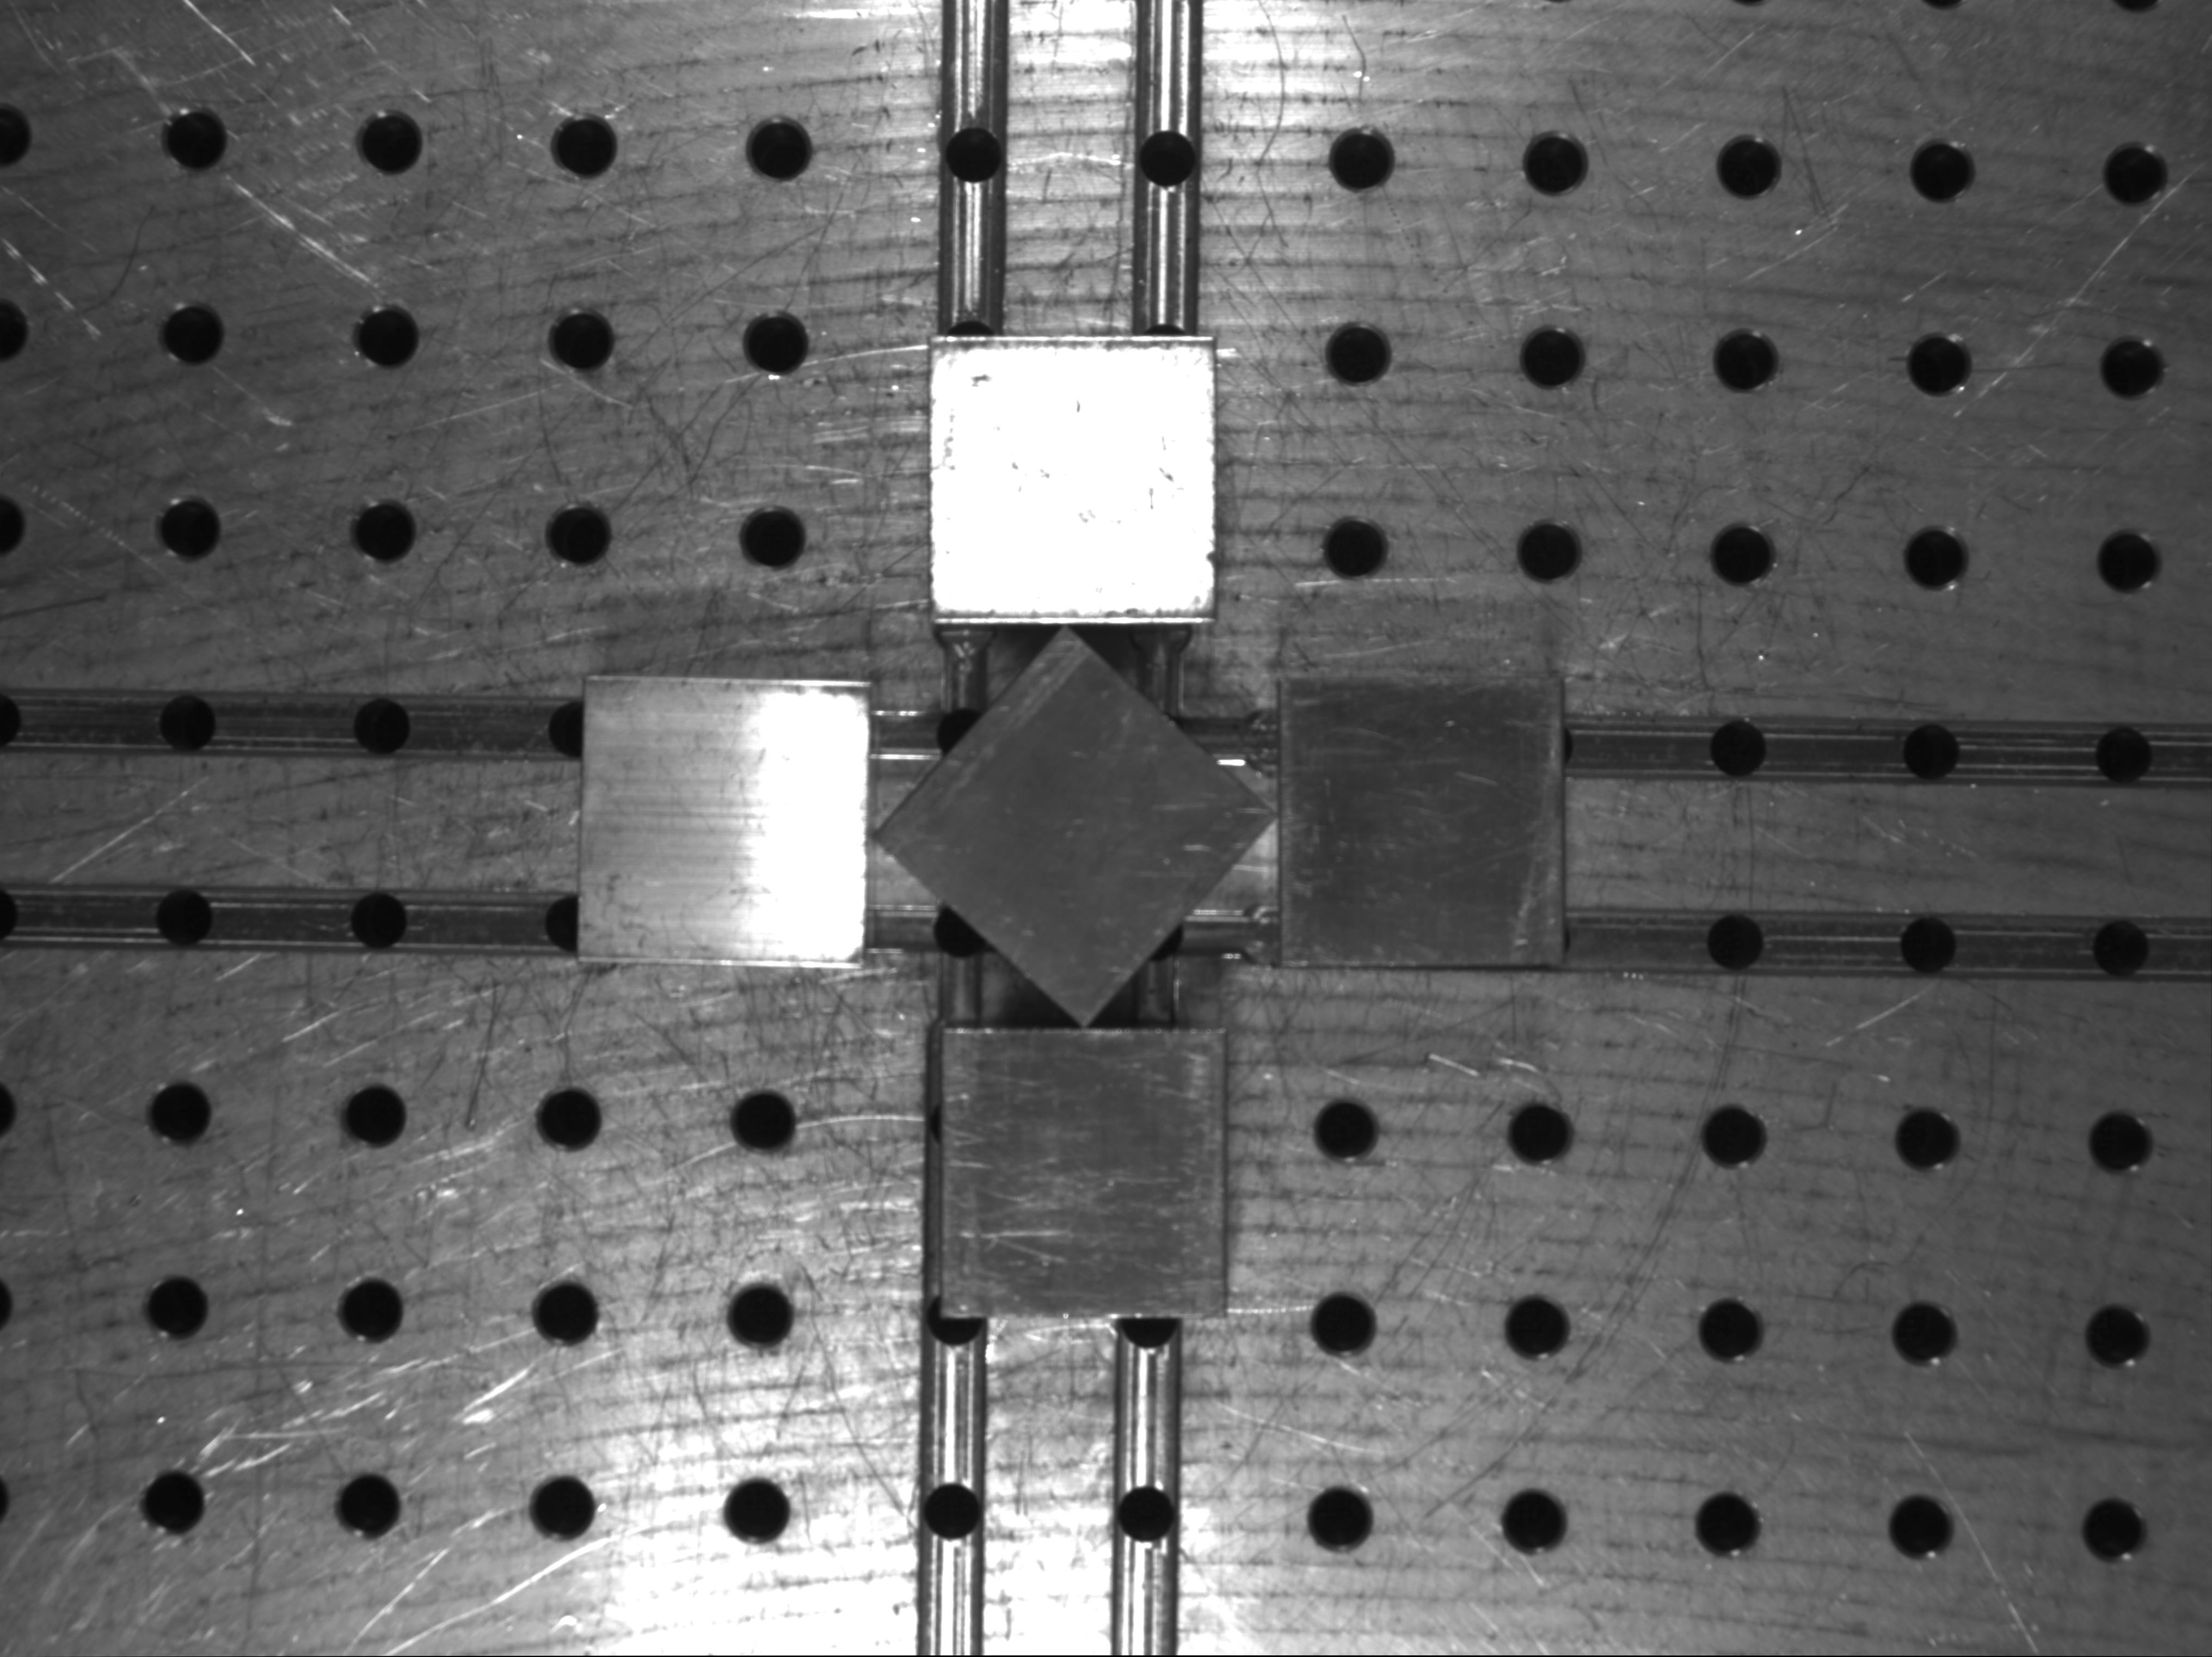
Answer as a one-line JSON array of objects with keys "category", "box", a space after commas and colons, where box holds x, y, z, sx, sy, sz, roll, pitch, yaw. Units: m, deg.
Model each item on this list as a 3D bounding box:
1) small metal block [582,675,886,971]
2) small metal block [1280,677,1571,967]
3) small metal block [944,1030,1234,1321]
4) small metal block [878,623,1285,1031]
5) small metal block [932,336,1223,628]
[{"category": "small metal block", "box": [-0.065, -0.001, 0.647, 0.050, 0.025, 0.050, 1, 90, 0]}, {"category": "small metal block", "box": [0.056, -0.001, 0.648, 0.050, 0.025, 0.050, 0, 90, 0]}, {"category": "small metal block", "box": [-0.003, 0.060, 0.647, 0.050, 0.025, 0.050, 0, 90, 0]}, {"category": "small metal block", "box": [-0.004, 0.000, 0.647, 0.050, 0.025, 0.050, 42, 90, 0]}, {"category": "small metal block", "box": [-0.005, -0.060, 0.647, 0.050, 0.025, 0.050, -1, 90, 0]}]
